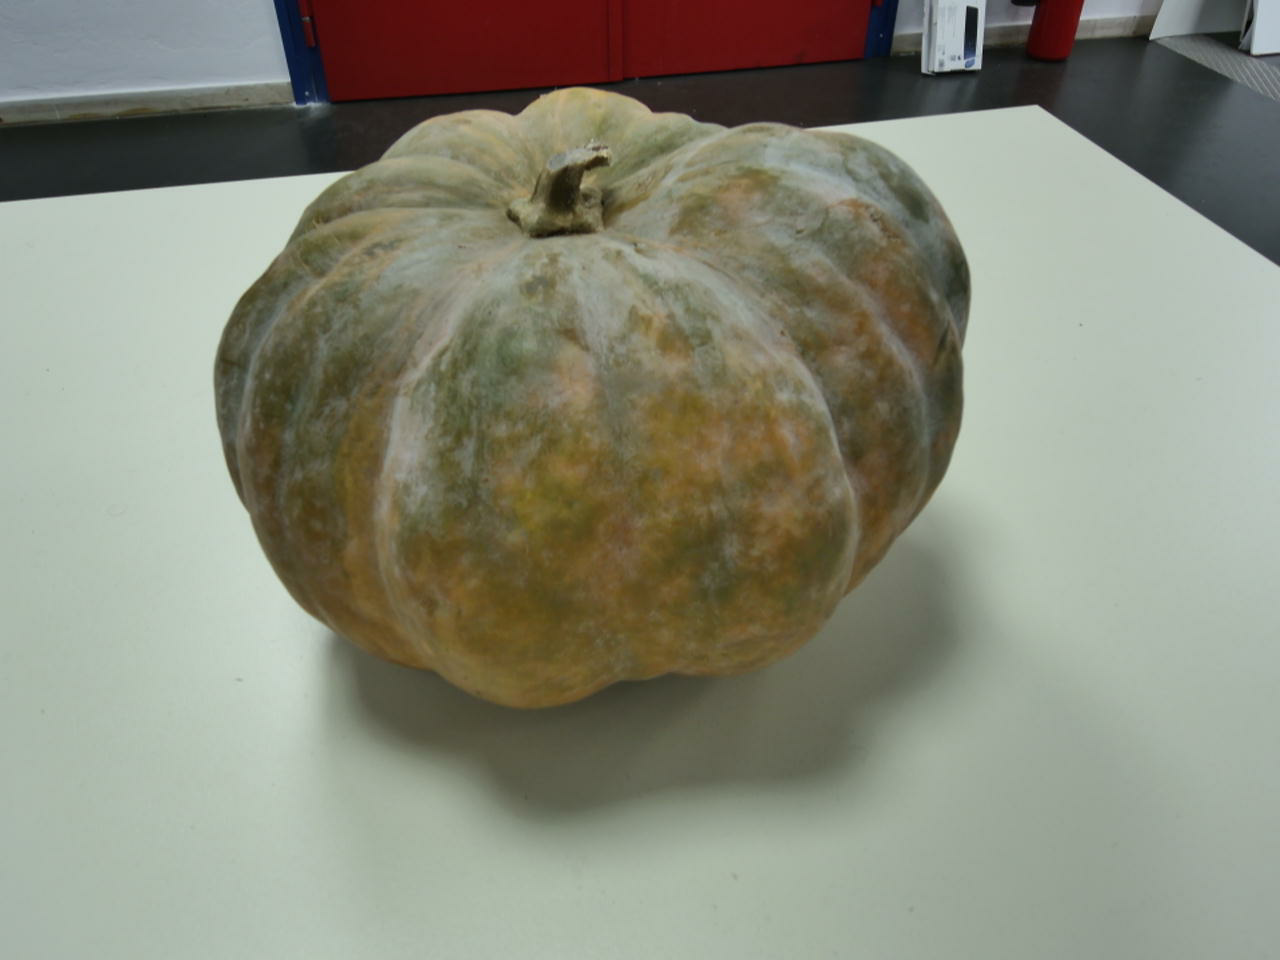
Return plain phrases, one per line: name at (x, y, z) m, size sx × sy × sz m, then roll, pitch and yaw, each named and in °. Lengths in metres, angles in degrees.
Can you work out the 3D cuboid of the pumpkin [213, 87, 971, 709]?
pumpkin at (-0.019, -0.036, 0.351) m, size 0.252 × 0.169 × 0.251 m, roll 0°, pitch 38°, yaw 0°
